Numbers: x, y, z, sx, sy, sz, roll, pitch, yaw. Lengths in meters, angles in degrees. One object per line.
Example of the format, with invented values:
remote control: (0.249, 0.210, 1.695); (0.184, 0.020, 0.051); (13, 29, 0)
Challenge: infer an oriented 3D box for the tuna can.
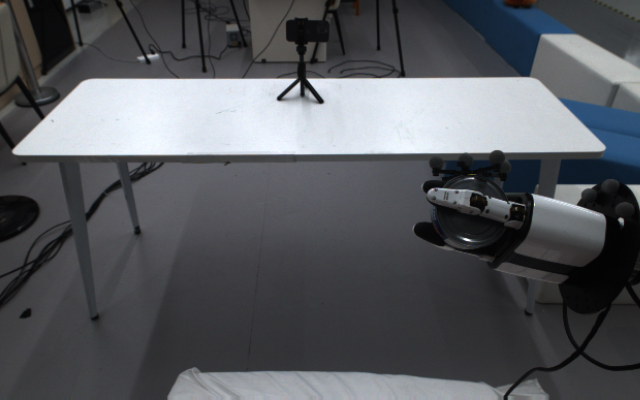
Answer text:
tuna can: (0.177, 0.012, 0.568); (0.085, 0.034, 0.085); (0, 75, 1)
